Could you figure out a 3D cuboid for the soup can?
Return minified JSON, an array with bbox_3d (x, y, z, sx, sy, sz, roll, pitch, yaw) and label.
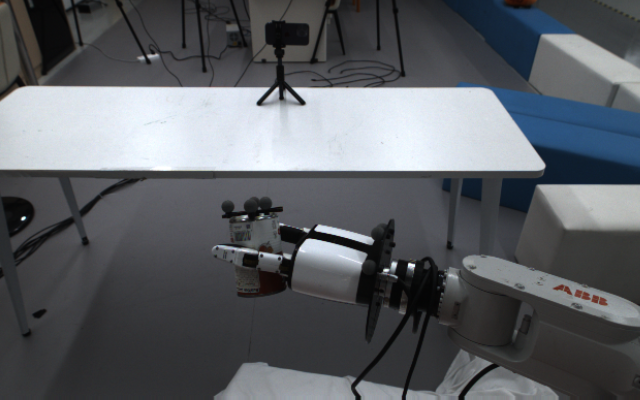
[{"bbox_3d":[-0.081,0.072,0.643,0.067,0.101,0.067,-7,3,0],"label":"soup can"}]
